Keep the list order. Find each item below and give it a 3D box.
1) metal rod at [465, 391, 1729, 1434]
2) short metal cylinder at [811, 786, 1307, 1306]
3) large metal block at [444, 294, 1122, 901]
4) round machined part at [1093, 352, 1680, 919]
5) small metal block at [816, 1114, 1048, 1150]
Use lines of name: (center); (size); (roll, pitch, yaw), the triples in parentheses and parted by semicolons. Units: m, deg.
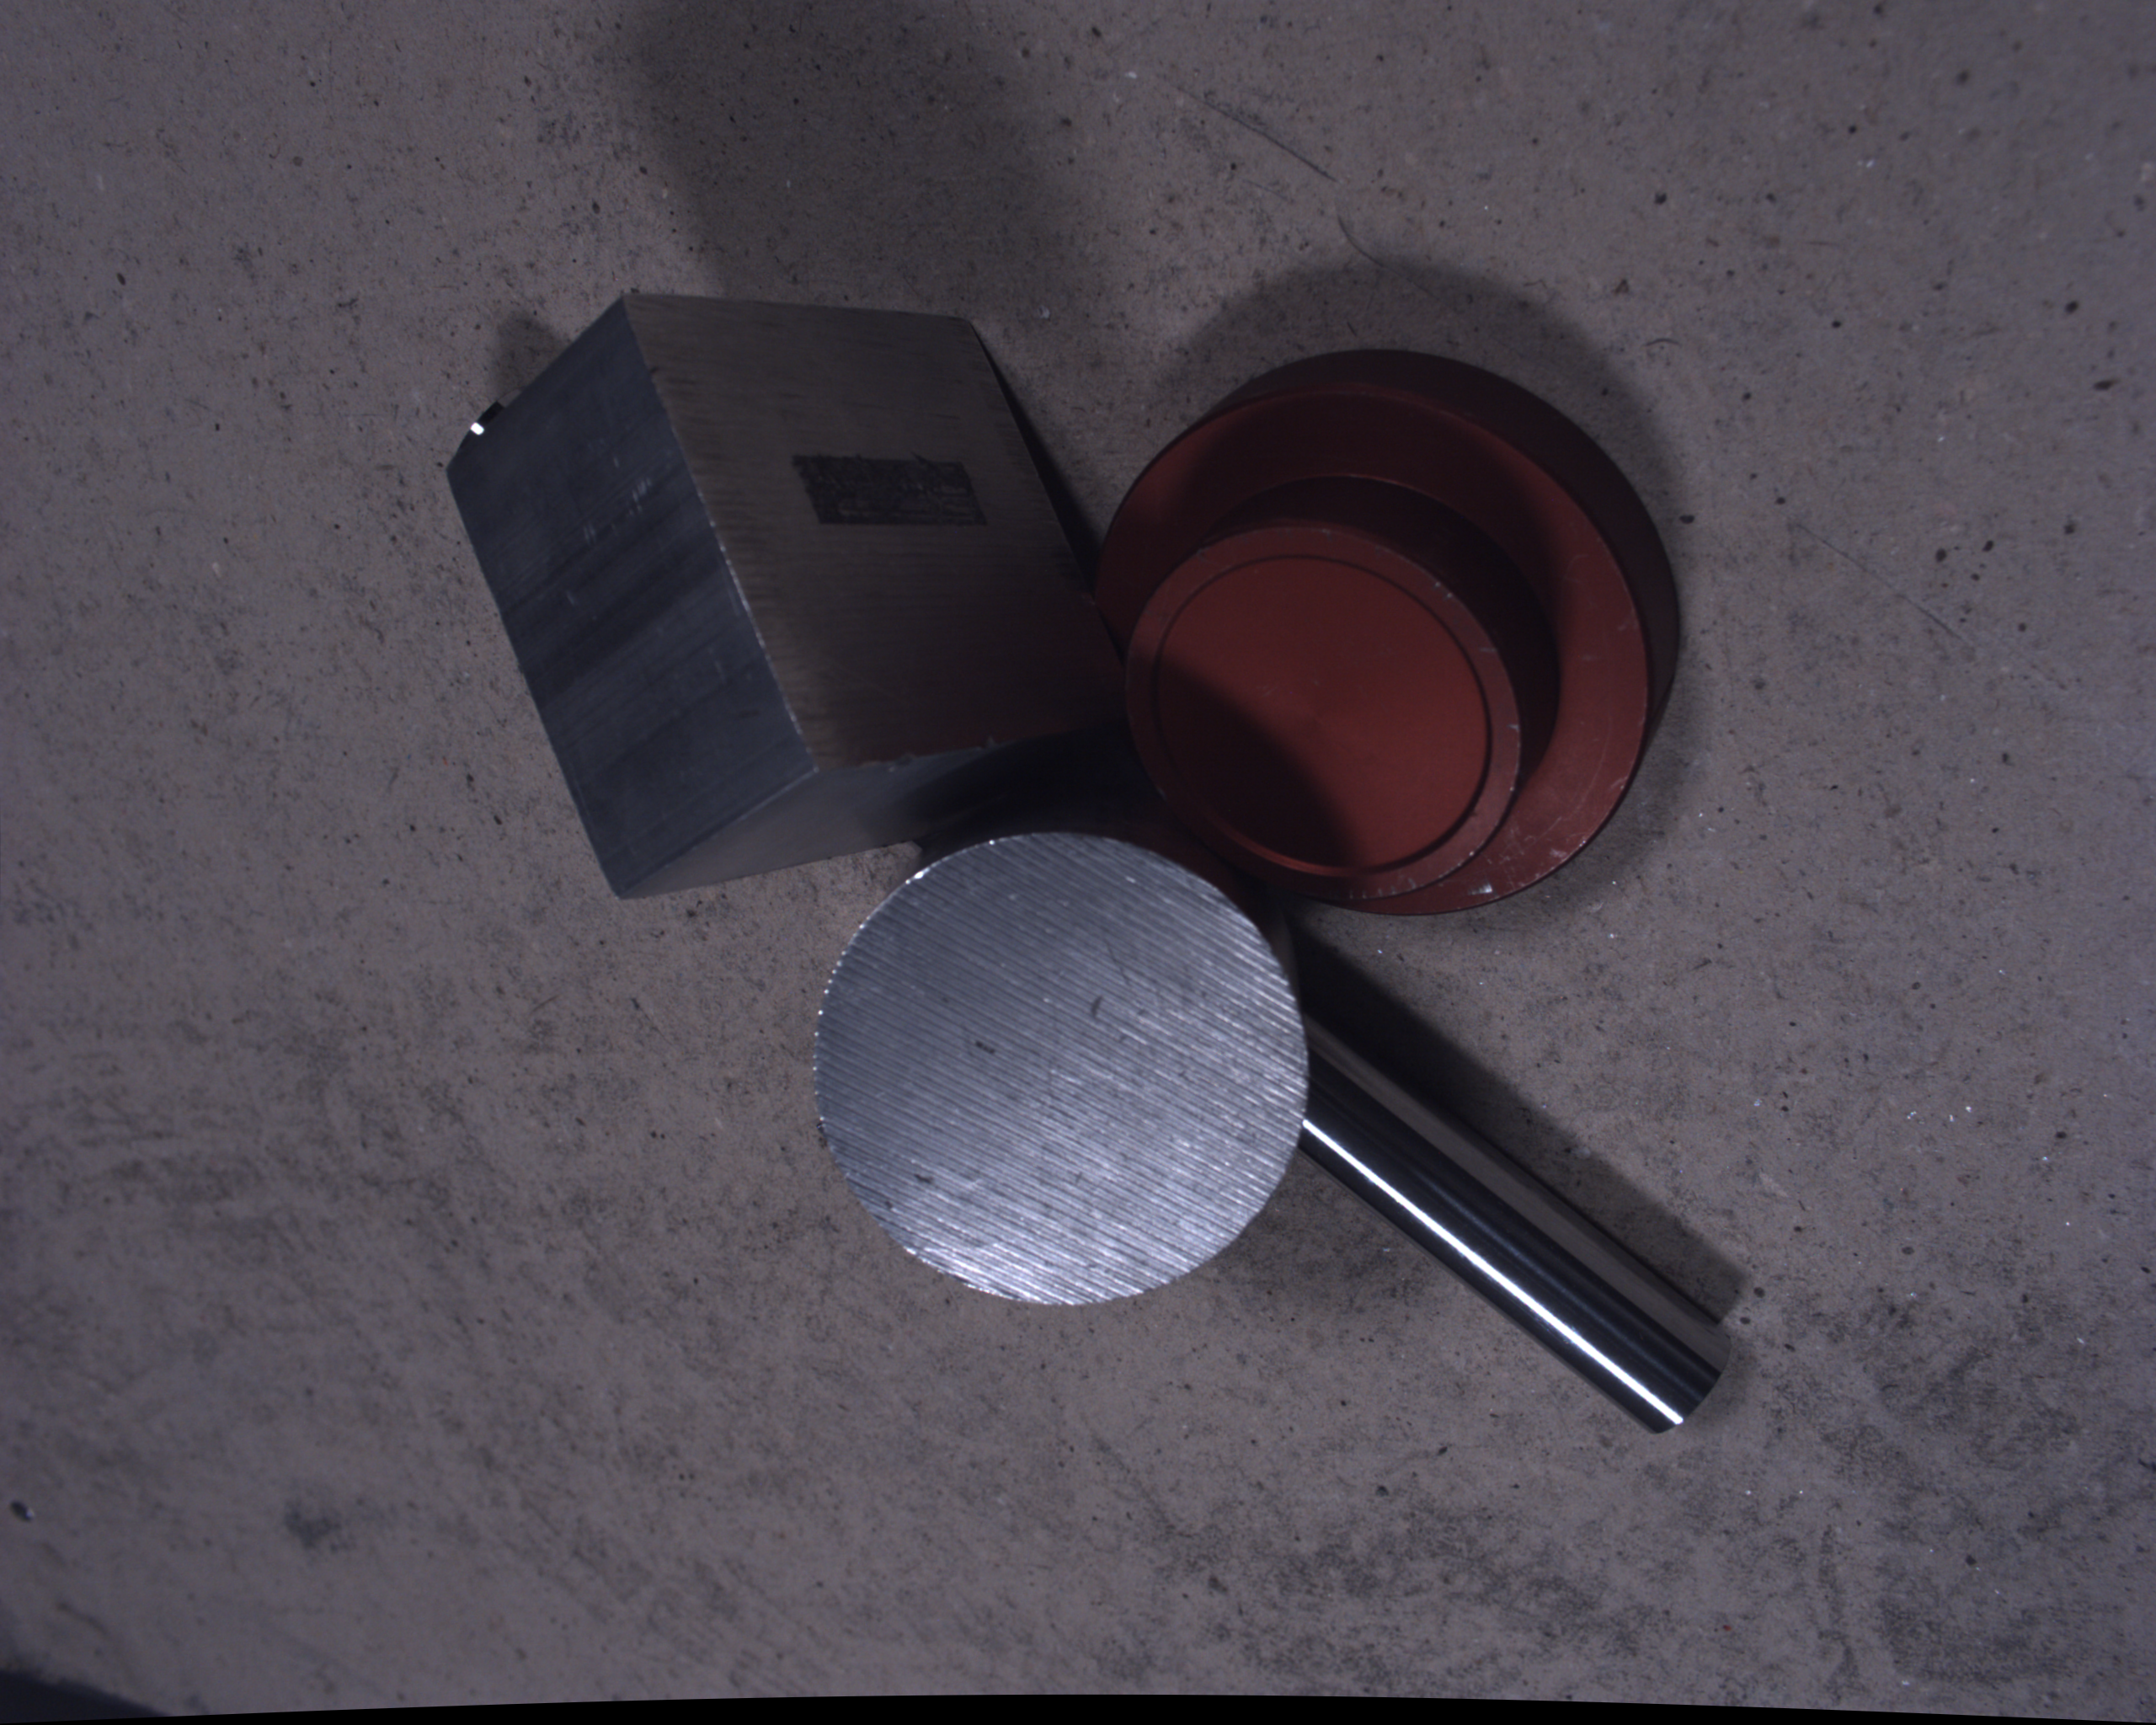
metal rod: (0.001, 0.008, 0.412); (0.300, 0.025, 0.025); (38, 129, 1)
short metal cylinder: (-0.001, 0.030, 0.362); (0.080, 0.050, 0.079); (1, 101, 5)
large metal block: (-0.047, -0.046, 0.354); (0.050, 0.081, 0.080); (-29, 81, 39)
round machined part: (0.047, -0.032, 0.351); (0.098, 0.042, 0.097); (13, 124, 20)
small metal block: (-0.017, 0.043, 0.427); (0.050, 0.050, 0.025); (-23, 105, 35)
